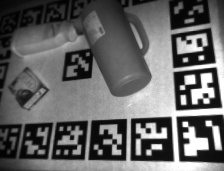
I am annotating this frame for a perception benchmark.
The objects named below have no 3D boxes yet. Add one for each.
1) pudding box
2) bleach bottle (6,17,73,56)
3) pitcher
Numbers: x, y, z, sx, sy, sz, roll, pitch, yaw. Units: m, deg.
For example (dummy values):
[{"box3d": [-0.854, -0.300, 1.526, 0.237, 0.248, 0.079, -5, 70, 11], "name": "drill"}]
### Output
[{"box3d": [-0.281, 0.001, 0.688, 0.090, 0.039, 0.112, -46, 64, -5], "name": "pudding box"}, {"box3d": [-0.229, -0.173, 0.720, 0.249, 0.068, 0.102, -10, 73, 15], "name": "bleach bottle"}, {"box3d": [0.008, -0.111, 0.590, 0.190, 0.133, 0.241, -18, 68, -23], "name": "pitcher"}]
